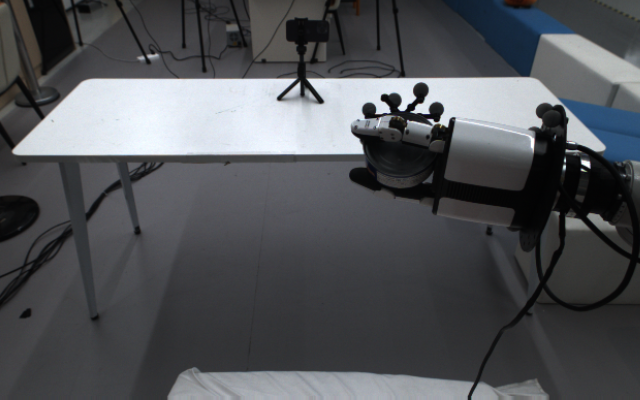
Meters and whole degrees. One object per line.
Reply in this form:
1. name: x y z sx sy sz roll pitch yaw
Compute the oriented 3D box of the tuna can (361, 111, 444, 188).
1. tuna can: 0.094 -0.059 0.558 0.085 0.034 0.085 -4 61 7
